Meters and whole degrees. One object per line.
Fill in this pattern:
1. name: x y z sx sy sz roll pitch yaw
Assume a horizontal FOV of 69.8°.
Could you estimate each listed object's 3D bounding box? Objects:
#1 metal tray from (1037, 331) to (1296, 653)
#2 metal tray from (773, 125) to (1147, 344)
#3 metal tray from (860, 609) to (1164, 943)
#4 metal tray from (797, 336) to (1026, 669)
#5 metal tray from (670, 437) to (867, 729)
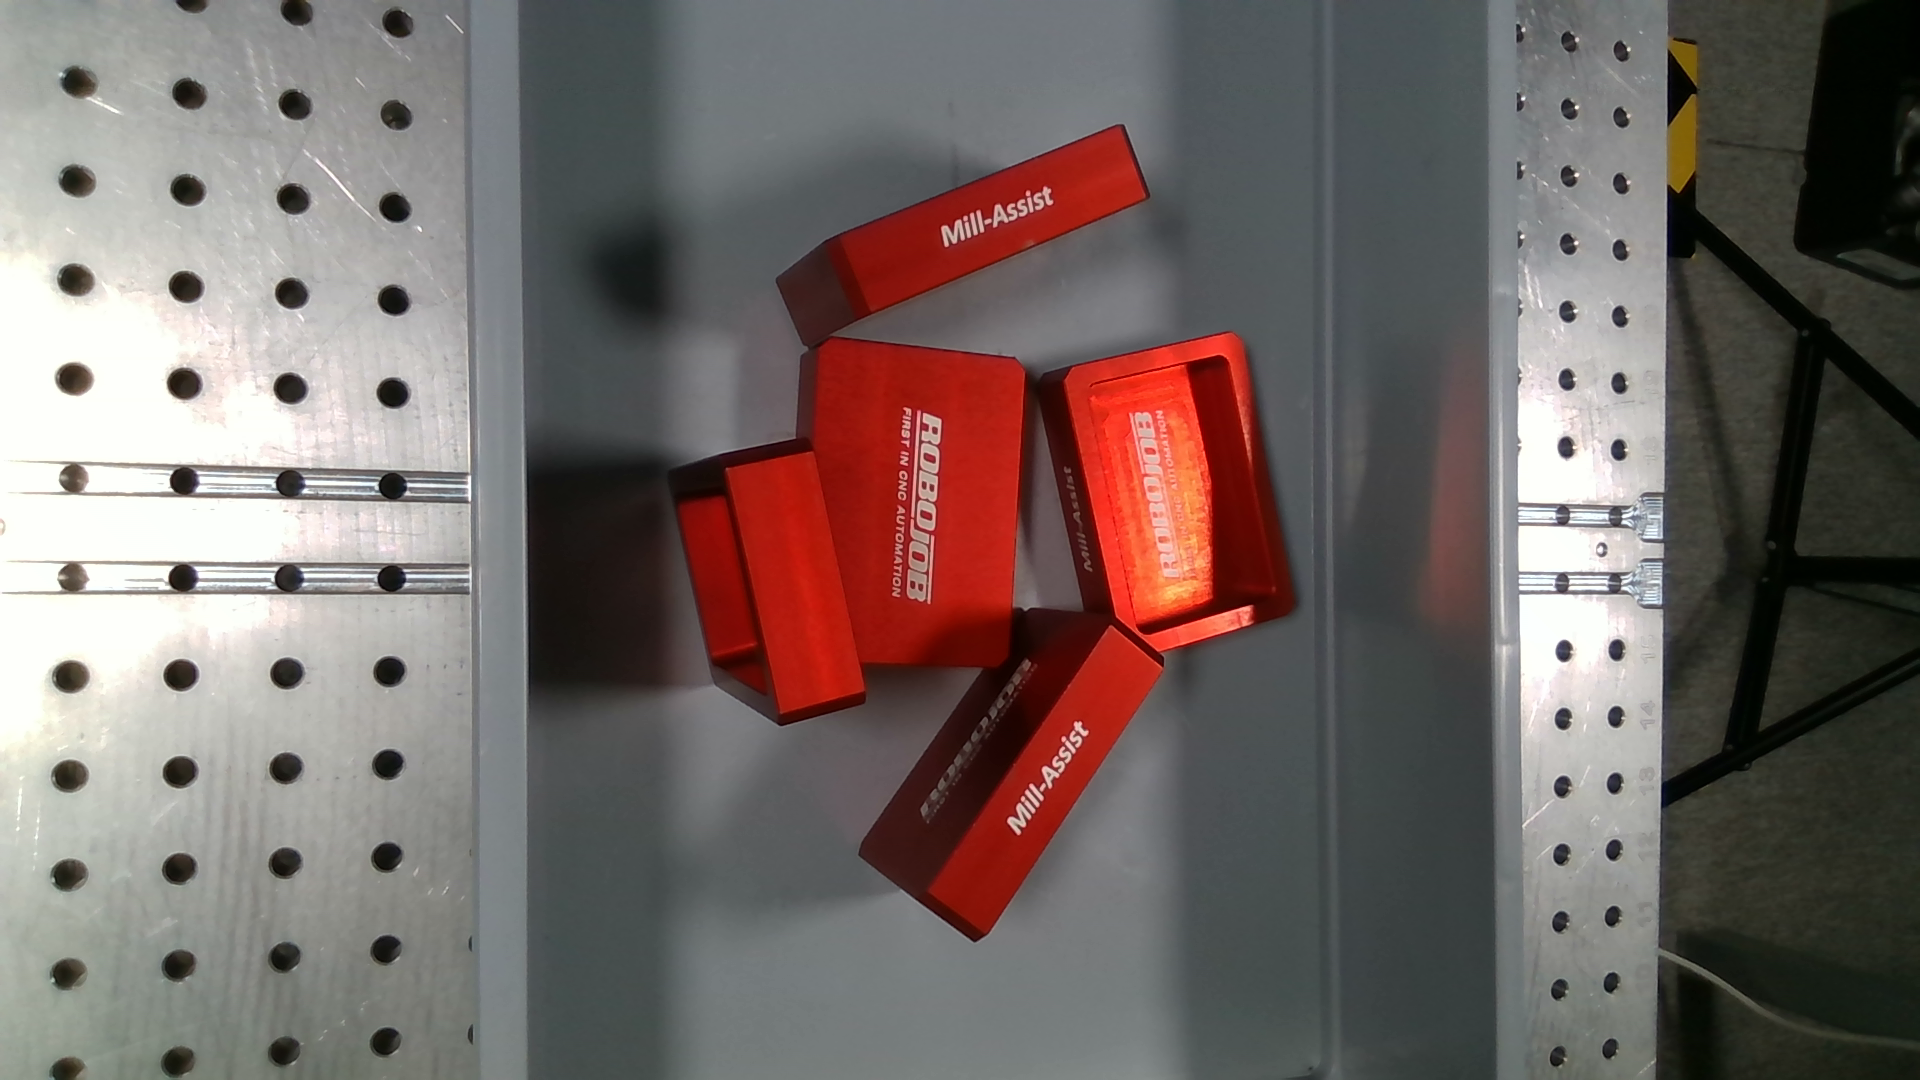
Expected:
1. metal tray: 0.093 -0.020 0.616 0.090 0.030 0.130 -14 95 -20
2. metal tray: -0.002 -0.120 0.548 0.130 0.090 0.030 -26 100 -18
3. metal tray: 0.018 0.089 0.556 0.030 0.090 0.130 40 77 -15
4. metal tray: -0.023 -0.014 0.572 0.090 0.030 0.130 3 89 -20
5. metal tray: -0.074 0.013 0.500 0.030 0.130 0.090 -14 95 -19
